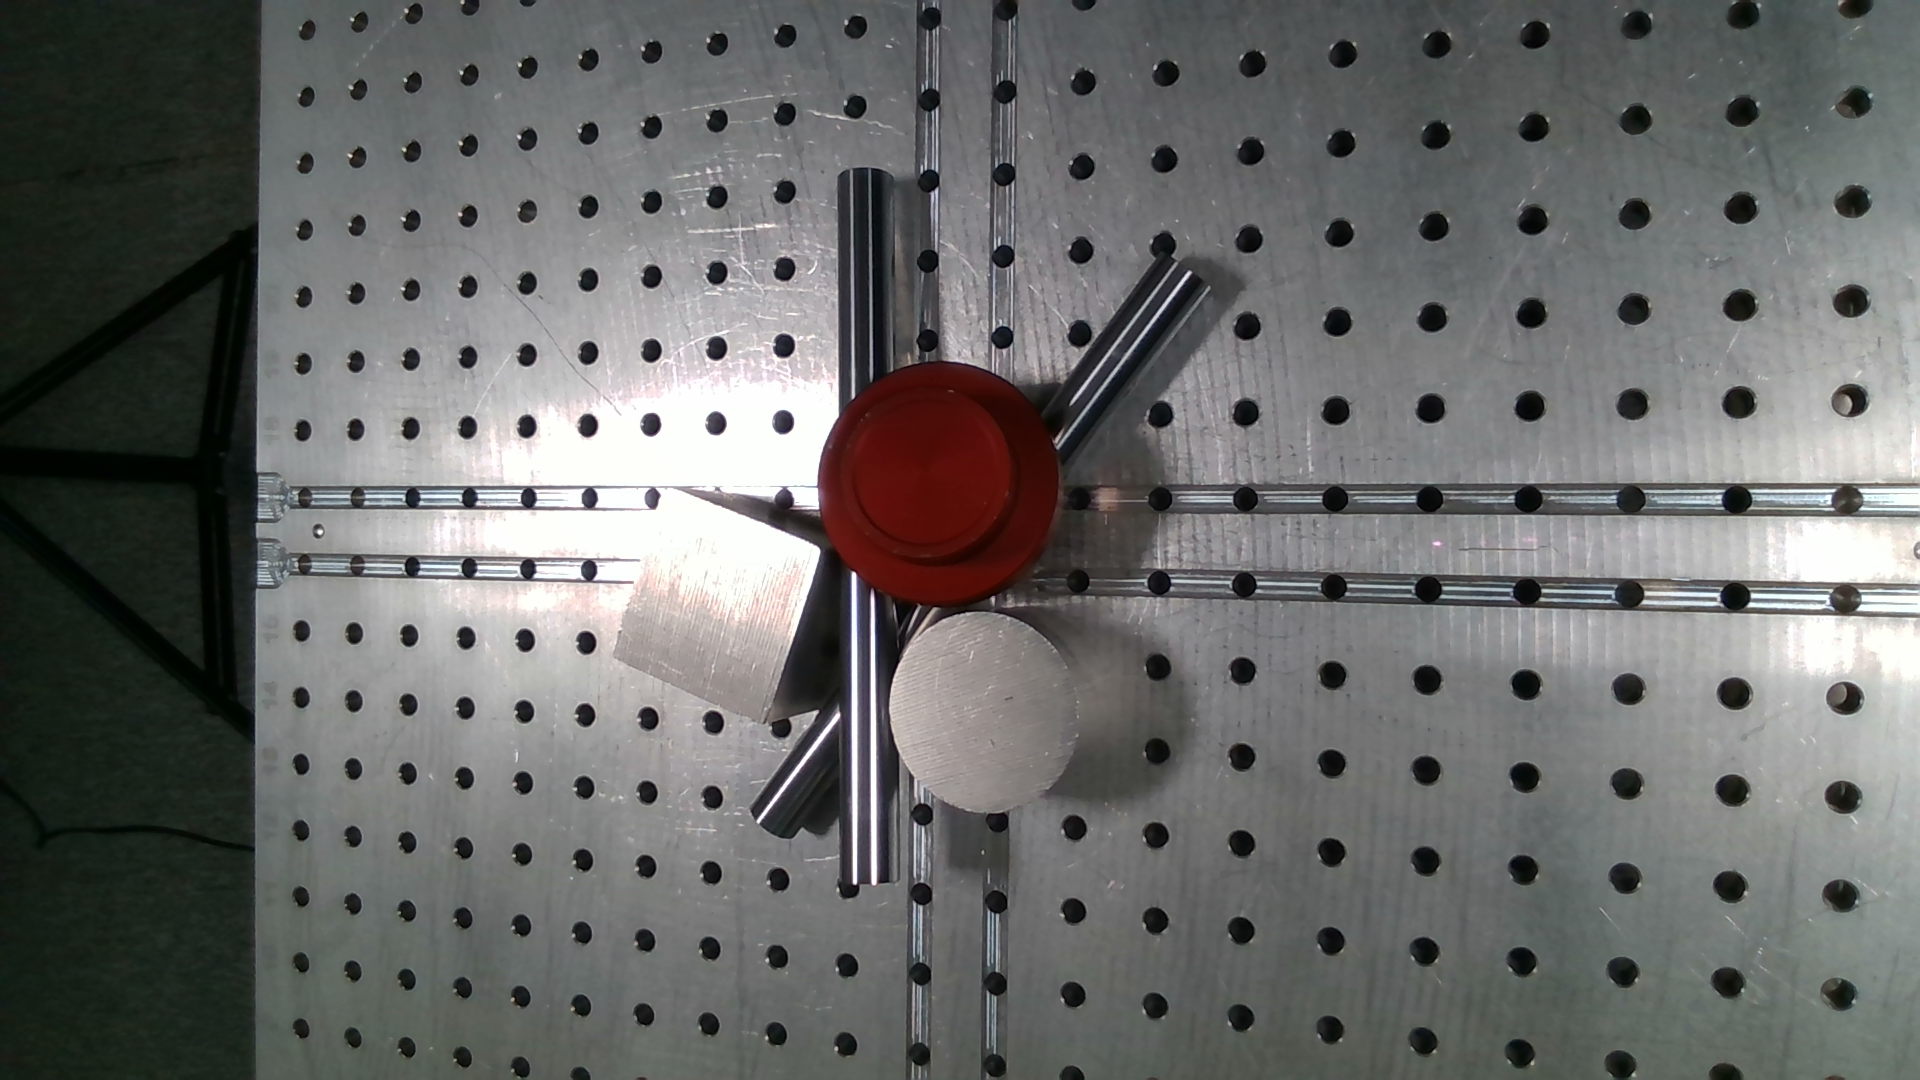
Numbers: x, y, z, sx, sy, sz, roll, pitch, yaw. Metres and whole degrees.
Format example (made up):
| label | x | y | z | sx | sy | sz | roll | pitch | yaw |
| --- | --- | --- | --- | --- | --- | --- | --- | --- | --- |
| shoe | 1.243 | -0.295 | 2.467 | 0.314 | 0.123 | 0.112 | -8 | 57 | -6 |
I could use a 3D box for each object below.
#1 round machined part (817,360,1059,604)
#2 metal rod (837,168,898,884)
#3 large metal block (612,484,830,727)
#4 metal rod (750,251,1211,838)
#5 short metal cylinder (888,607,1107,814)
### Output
| label | x | y | z | sx | sy | sz | roll | pitch | yaw |
| --- | --- | --- | --- | --- | --- | --- | --- | --- | --- |
| round machined part | -0.010 | -0.024 | 0.547 | 0.098 | 0.042 | 0.098 | -1 | 84 | 11 |
| metal rod | -0.039 | -0.009 | 0.583 | 0.025 | 0.025 | 0.300 | -3 | 82 | 20 |
| large metal block | -0.096 | 0.027 | 0.608 | 0.080 | 0.050 | 0.080 | 21 | 98 | 19 |
| metal rod | 0.004 | 0.008 | 0.587 | 0.025 | 0.025 | 0.300 | 40 | 103 | 15 |
| short metal cylinder | 0.017 | 0.069 | 0.568 | 0.080 | 0.050 | 0.080 | 0 | 90 | 20 |
